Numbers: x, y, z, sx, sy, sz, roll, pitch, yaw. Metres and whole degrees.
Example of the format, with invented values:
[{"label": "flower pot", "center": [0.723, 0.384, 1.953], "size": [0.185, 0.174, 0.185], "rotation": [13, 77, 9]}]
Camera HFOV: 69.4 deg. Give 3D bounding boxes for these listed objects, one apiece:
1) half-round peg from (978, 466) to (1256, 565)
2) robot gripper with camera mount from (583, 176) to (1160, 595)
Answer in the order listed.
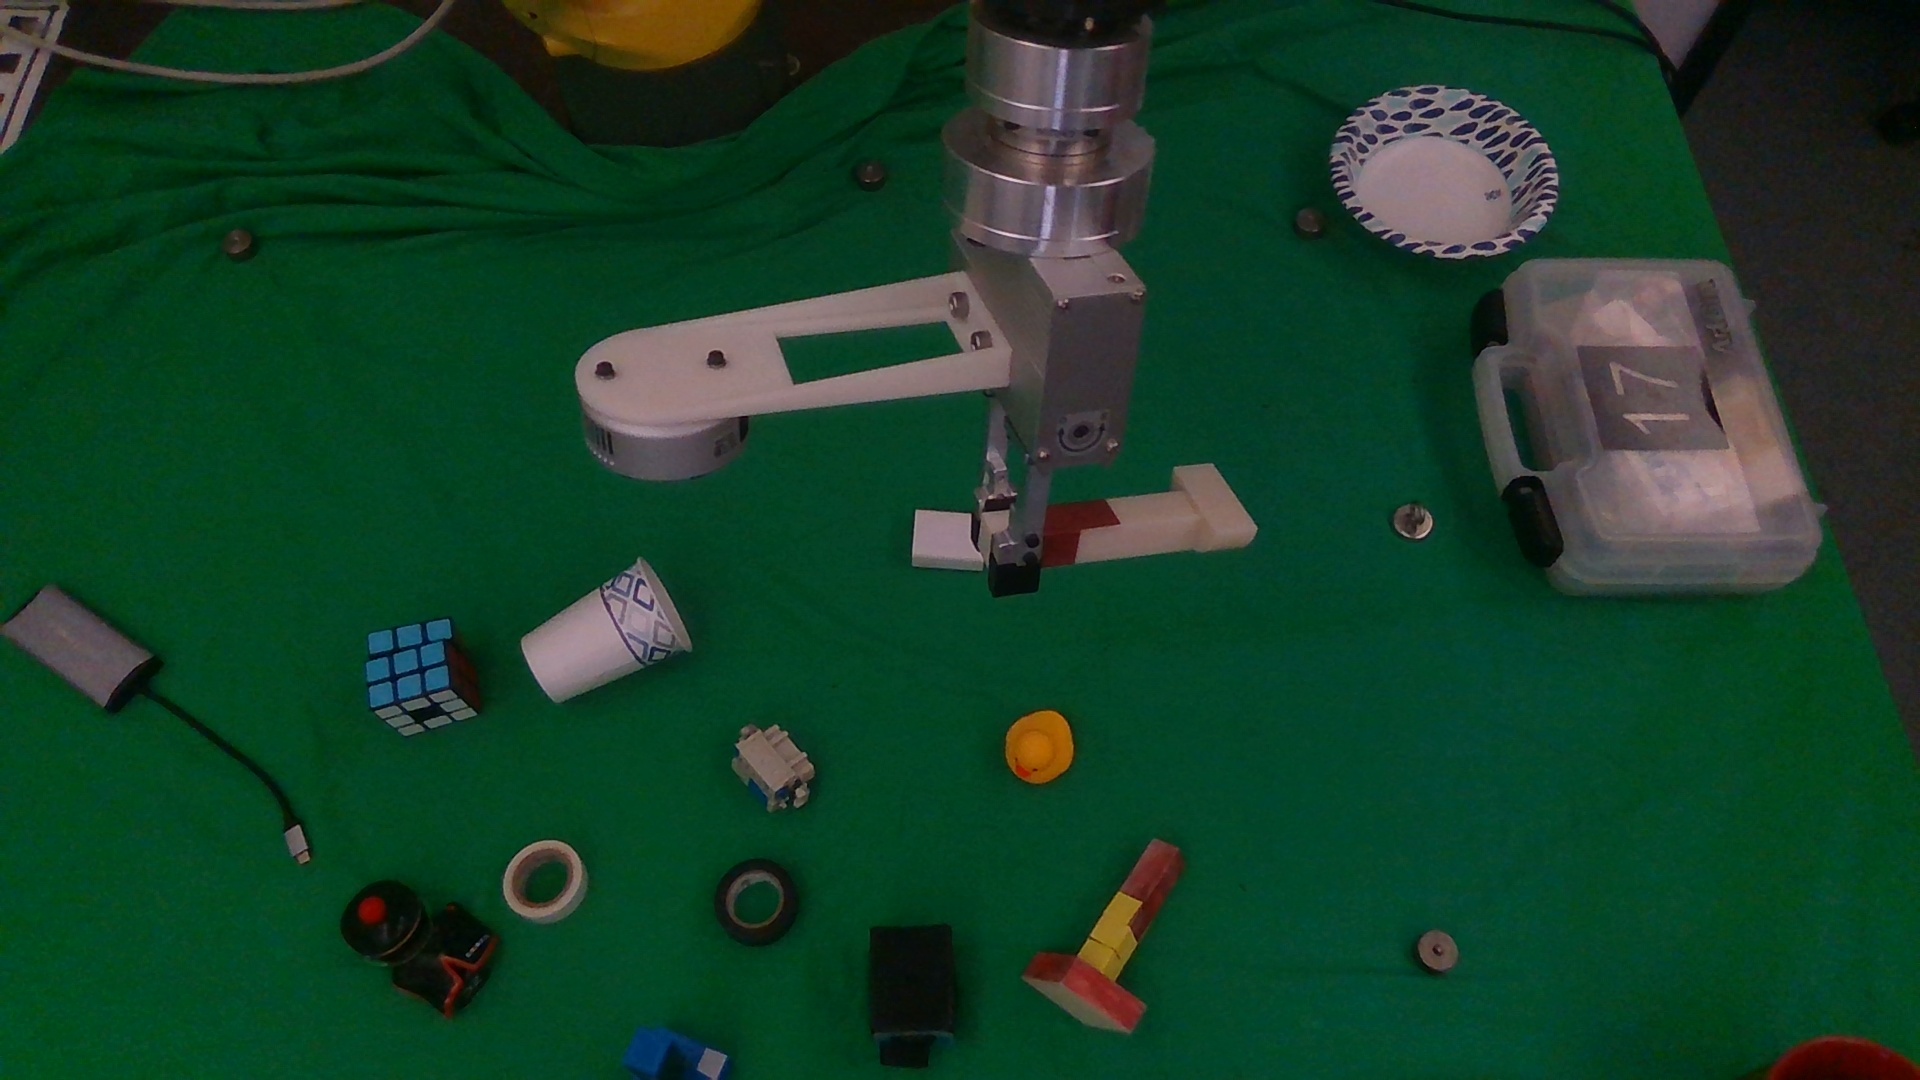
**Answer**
[{"label": "half-round peg", "center": [0.067, -0.007, 0.624], "size": [0.122, 0.031, 0.054], "rotation": [-4, 38, -18]}, {"label": "robot gripper with camera mount", "center": [-0.046, -0.043, 0.548], "size": [0.193, 0.158, 0.119], "rotation": [-5, 41, -16]}]
